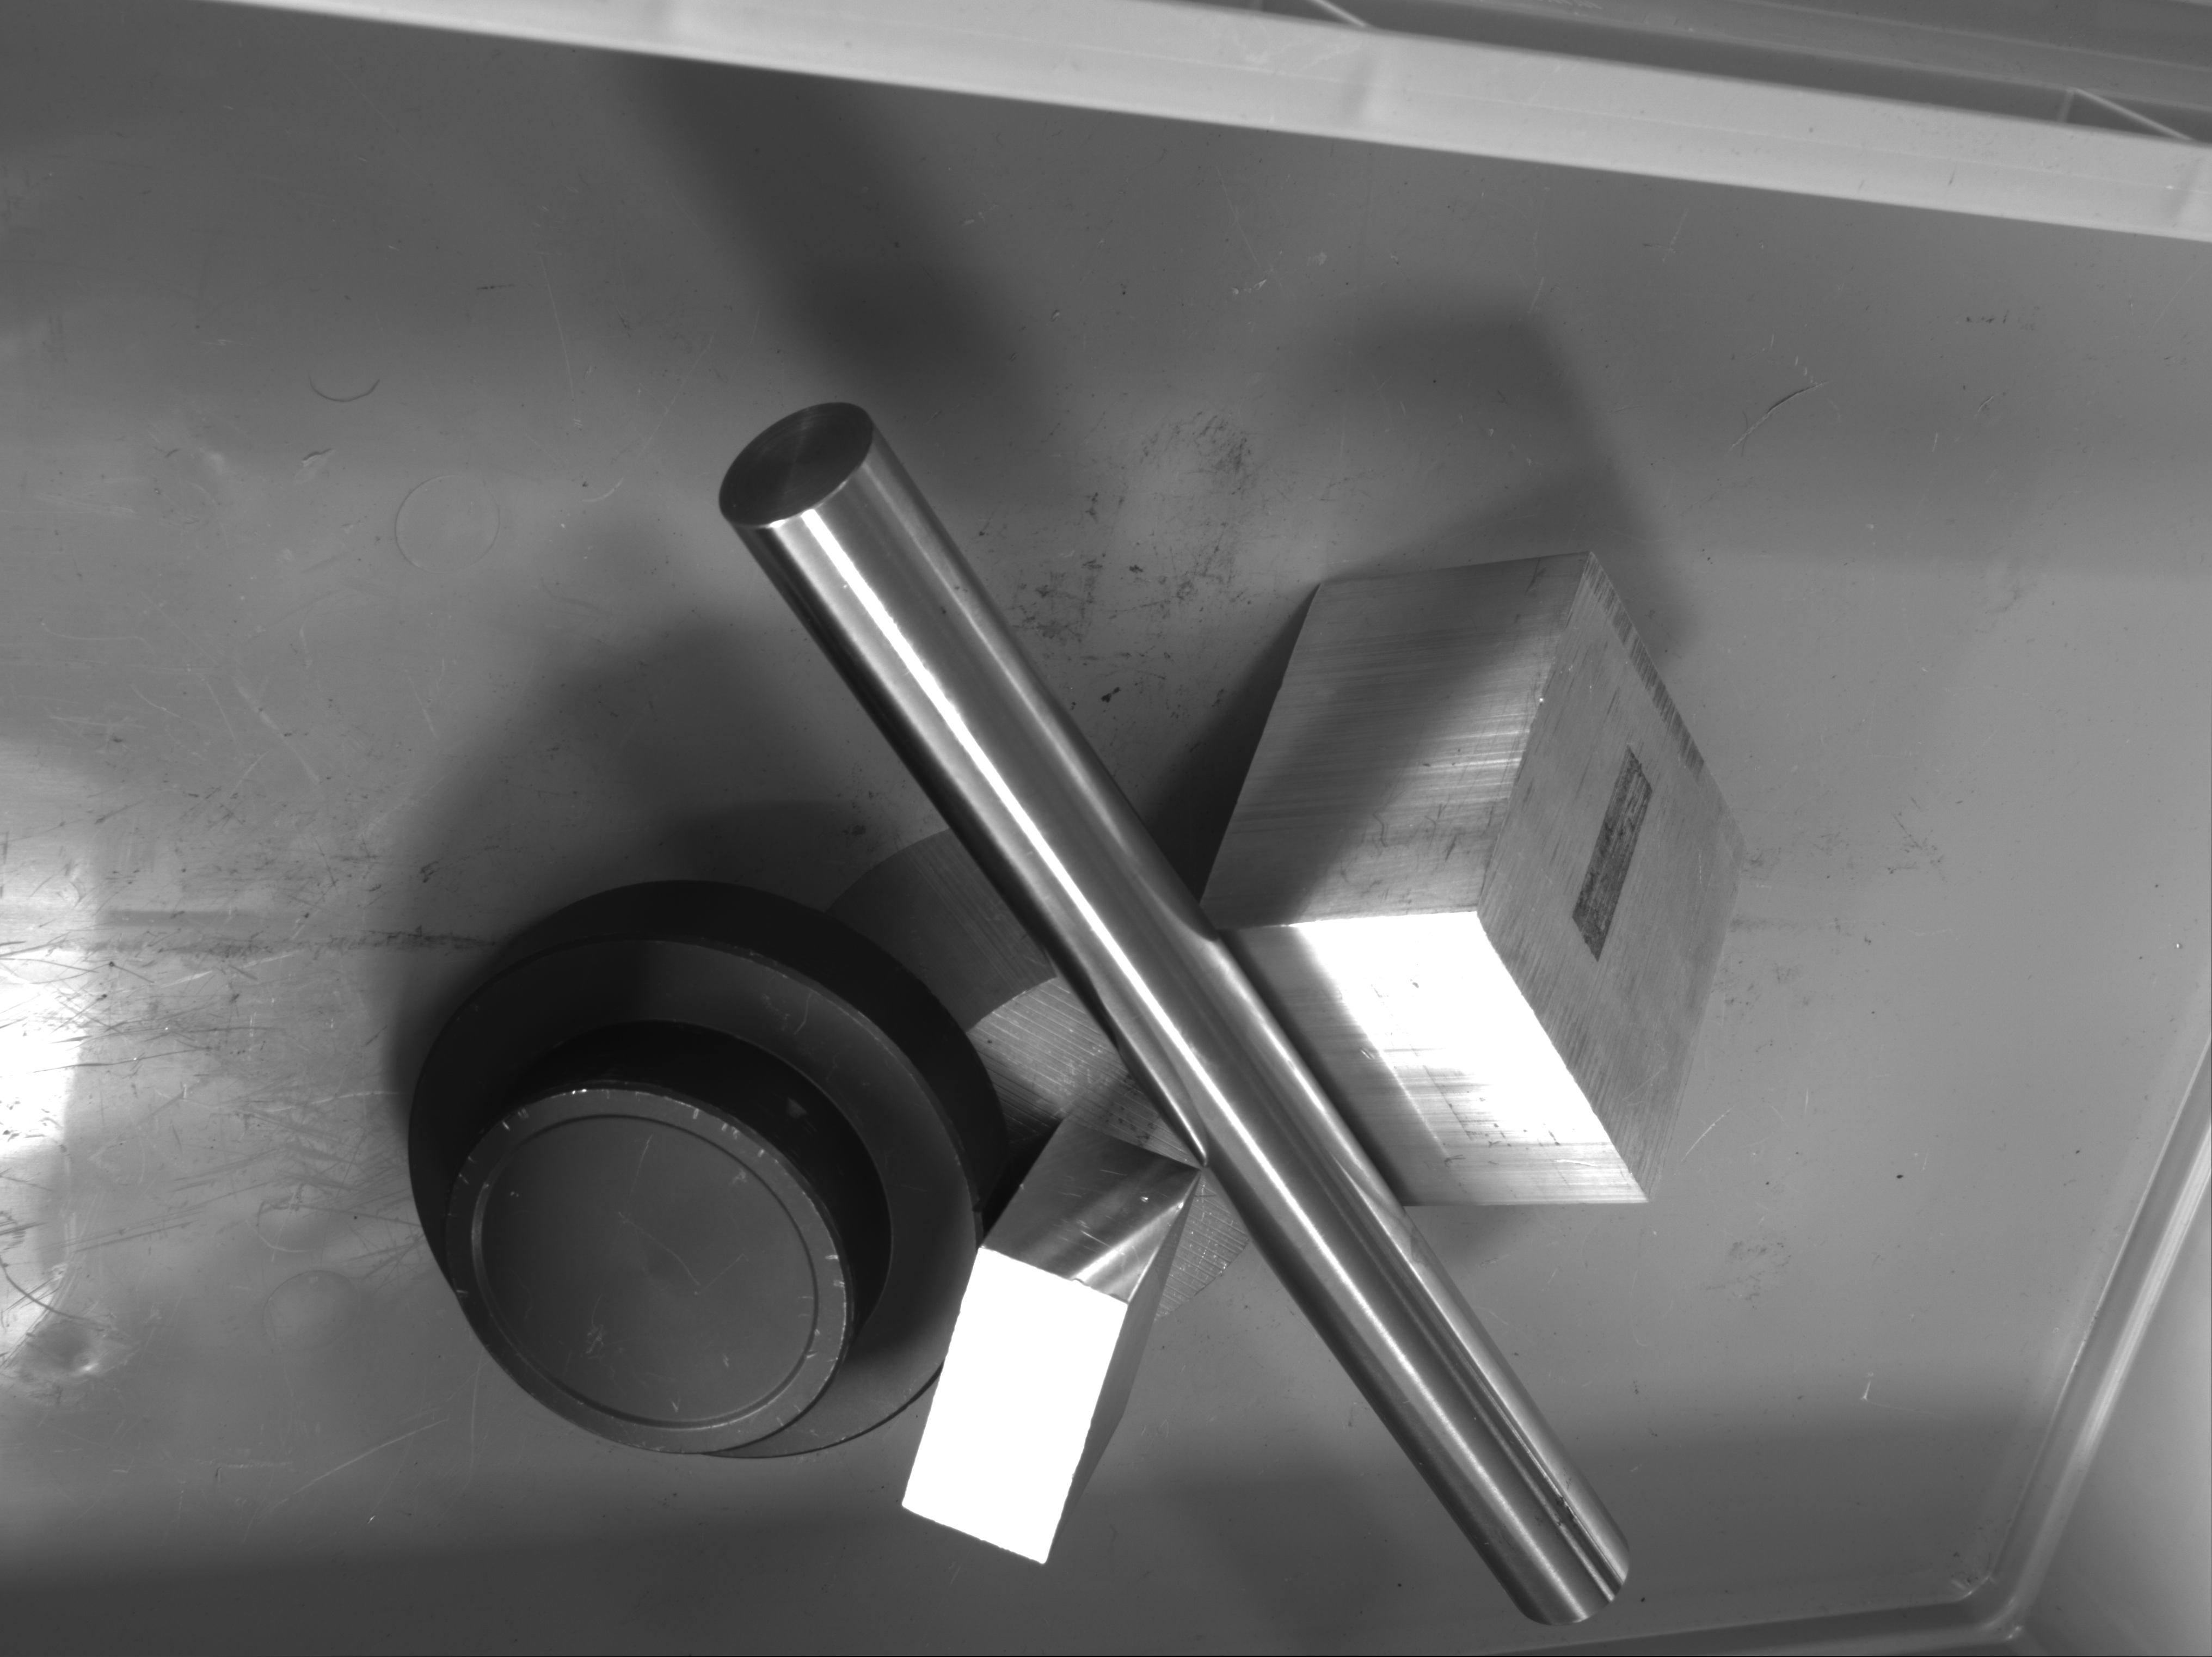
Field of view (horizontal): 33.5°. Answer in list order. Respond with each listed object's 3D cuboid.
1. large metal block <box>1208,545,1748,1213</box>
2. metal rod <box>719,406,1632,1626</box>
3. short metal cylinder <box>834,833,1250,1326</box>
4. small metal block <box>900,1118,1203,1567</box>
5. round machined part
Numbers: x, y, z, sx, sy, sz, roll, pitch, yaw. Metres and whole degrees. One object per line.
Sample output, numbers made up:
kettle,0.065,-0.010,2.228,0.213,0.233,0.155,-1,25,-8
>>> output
large metal block,0.066,0.010,0.634,0.080,0.050,0.080,55,43,-39
metal rod,0.023,0.046,0.612,0.025,0.025,0.301,-37,129,-3
short metal cylinder,-0.013,0.045,0.640,0.080,0.050,0.080,-13,124,-21
small metal block,-0.008,0.083,0.599,0.025,0.050,0.050,20,114,7
round machined part,-0.067,0.062,0.593,0.098,0.042,0.098,6,116,12
